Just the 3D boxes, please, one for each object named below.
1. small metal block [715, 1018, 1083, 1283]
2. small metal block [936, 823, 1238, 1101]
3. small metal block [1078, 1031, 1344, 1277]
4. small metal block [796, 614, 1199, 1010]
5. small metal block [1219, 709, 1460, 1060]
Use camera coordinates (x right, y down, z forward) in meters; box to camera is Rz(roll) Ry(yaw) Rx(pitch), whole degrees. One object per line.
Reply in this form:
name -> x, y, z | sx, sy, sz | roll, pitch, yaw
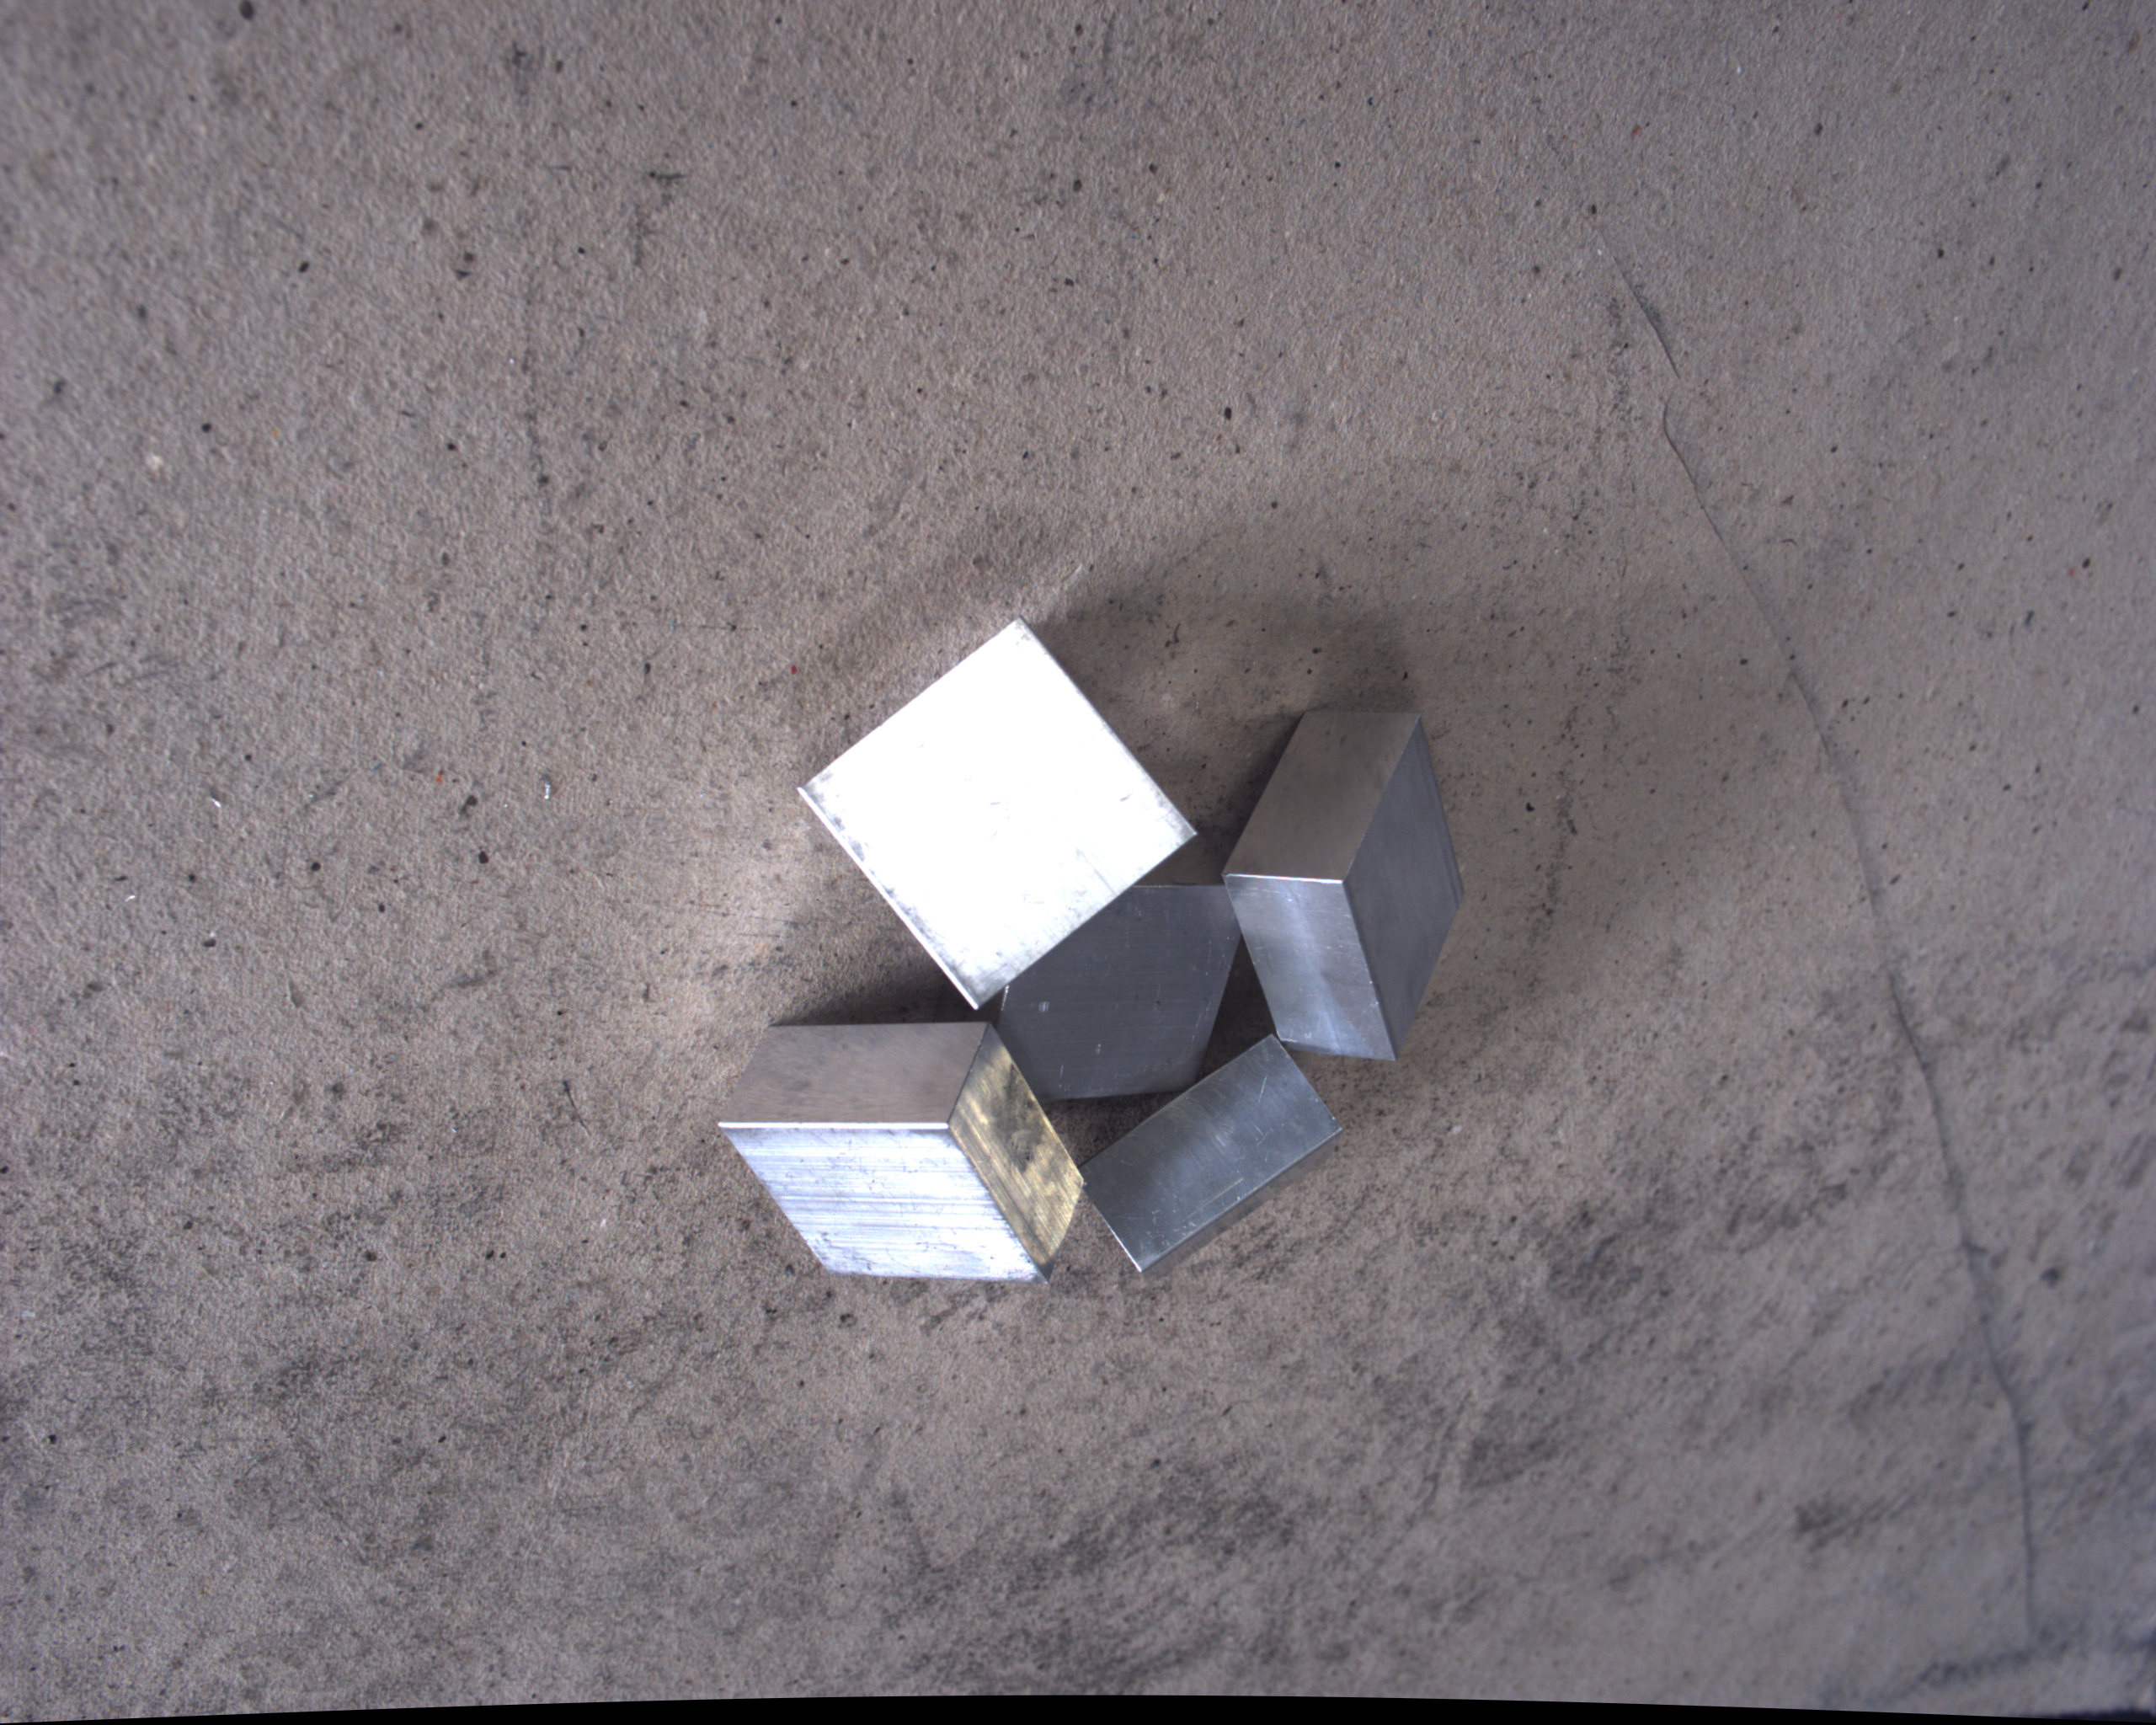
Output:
small metal block -> -0.034, 0.057, 0.408 | 0.050, 0.025, 0.050 | -4, 134, 26
small metal block -> 0.002, 0.020, 0.422 | 0.050, 0.025, 0.050 | -1, 119, -30
small metal block -> 0.028, 0.064, 0.447 | 0.050, 0.025, 0.050 | -35, 167, -5
small metal block -> -0.014, -0.008, 0.379 | 0.050, 0.025, 0.050 | -39, 88, -3
small metal block -> 0.055, 0.004, 0.425 | 0.050, 0.025, 0.050 | -61, 143, -39
